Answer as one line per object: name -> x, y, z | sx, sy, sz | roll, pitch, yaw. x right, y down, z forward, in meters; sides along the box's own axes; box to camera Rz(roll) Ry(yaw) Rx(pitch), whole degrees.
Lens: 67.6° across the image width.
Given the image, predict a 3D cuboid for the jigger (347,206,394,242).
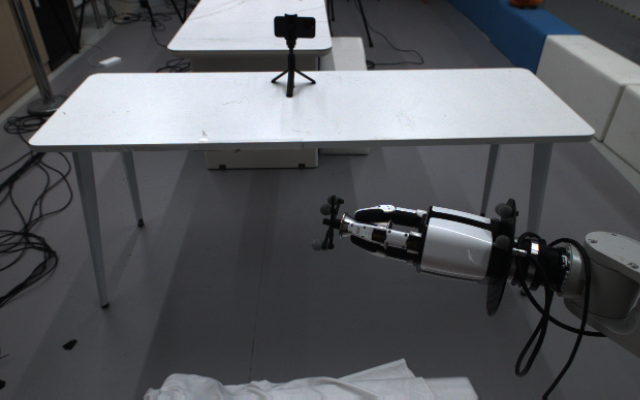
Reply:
jigger -> 0.072, 0.039, 0.694 | 0.071, 0.043, 0.043 | 10, 35, 16
